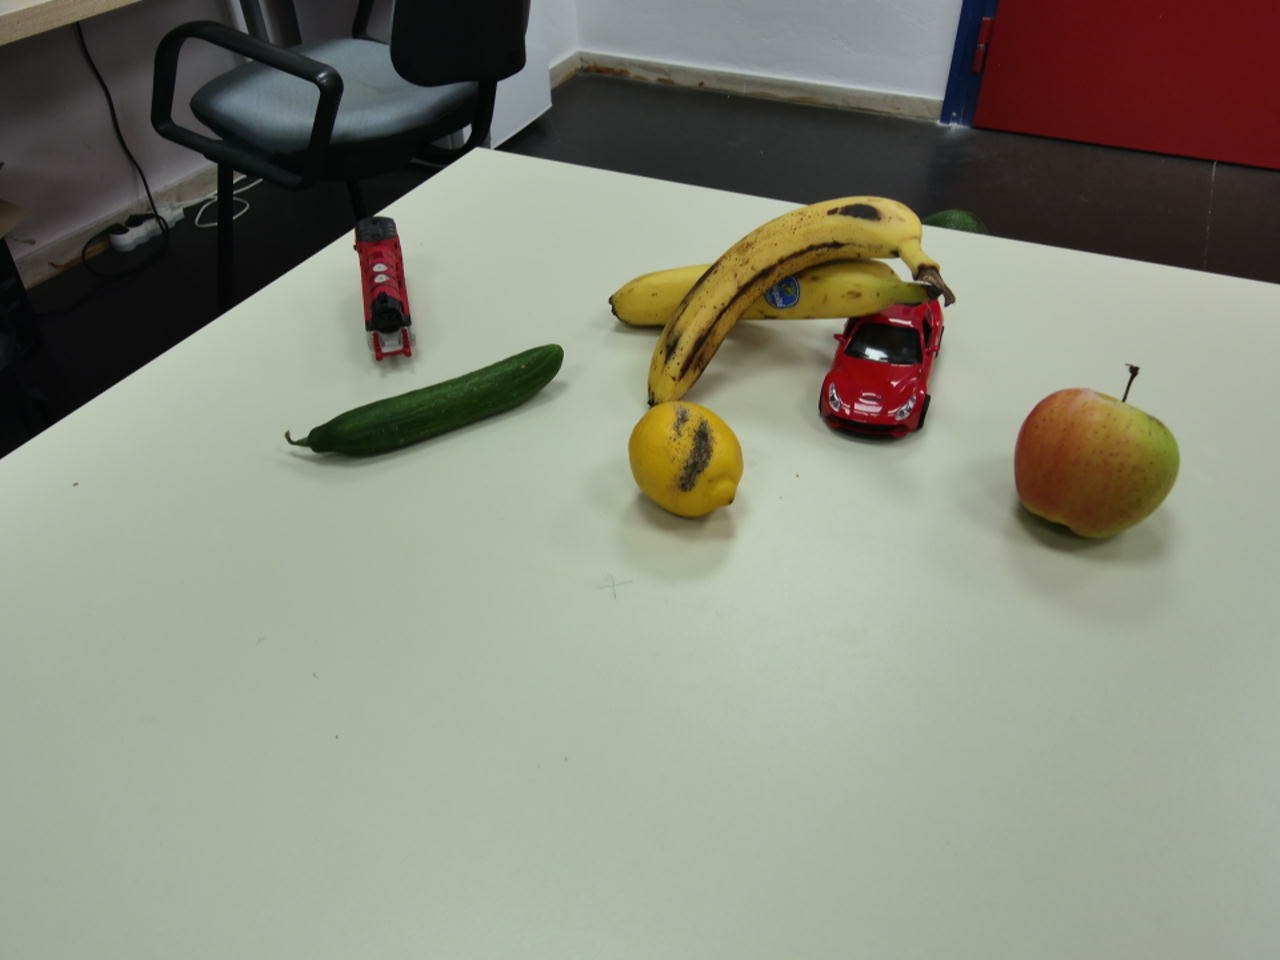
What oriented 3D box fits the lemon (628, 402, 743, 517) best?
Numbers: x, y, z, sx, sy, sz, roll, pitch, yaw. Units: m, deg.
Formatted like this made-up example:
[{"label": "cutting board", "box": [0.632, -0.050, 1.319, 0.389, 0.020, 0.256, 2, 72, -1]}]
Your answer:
[{"label": "lemon", "box": [0.024, -0.011, 0.520, 0.061, 0.056, 0.058, 12, 39, 14]}]
